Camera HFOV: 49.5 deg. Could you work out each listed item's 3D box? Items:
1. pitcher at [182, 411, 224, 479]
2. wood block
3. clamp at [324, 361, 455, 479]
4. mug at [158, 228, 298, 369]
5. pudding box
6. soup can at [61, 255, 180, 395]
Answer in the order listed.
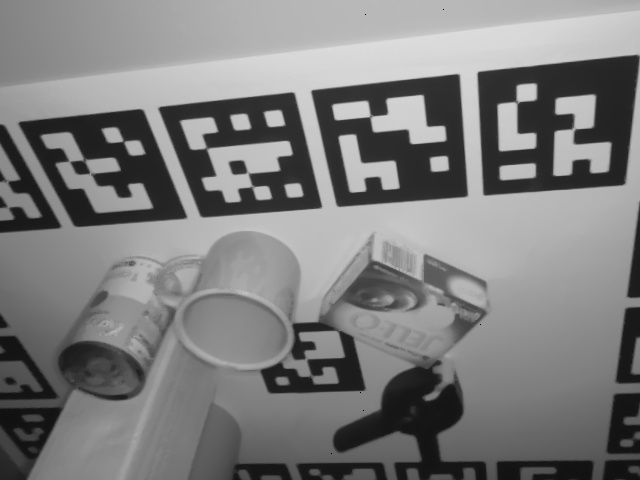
[{"bbox_3d":[-0.174,0.279,0.658,0.188,0.245,0.132,-6,129,8],"label":"pitcher"},{"bbox_3d":[-0.169,0.173,0.595,0.089,0.209,0.090,-4,127,15],"label":"wood block"},{"bbox_3d":[0.084,0.177,0.690,0.122,0.037,0.163,23,126,-2],"label":"clamp"},{"bbox_3d":[-0.073,0.040,0.564,0.118,0.082,0.092,24,129,-13],"label":"mug"},{"bbox_3d":[0.076,0.053,0.588,0.114,0.039,0.088,25,123,-14],"label":"pudding box"},{"bbox_3d":[-0.162,0.069,0.582,0.068,0.103,0.067,3,125,5],"label":"soup can"}]
